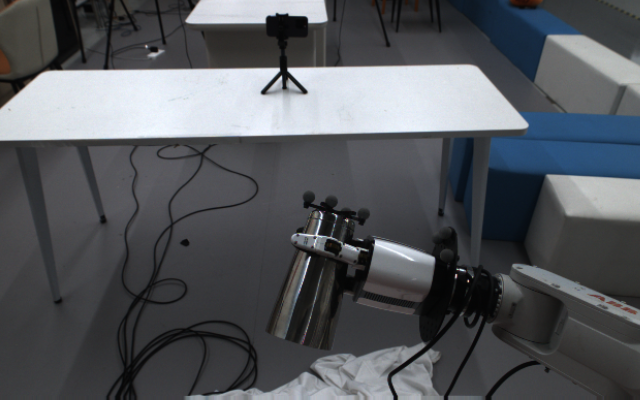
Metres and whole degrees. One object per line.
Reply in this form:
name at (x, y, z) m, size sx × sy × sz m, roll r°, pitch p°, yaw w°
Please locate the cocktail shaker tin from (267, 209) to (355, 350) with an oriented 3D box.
cocktail shaker tin at (-0.002, 0.103, 0.656) m, size 0.093 × 0.093 × 0.170 m, roll 13°, pitch 79°, yaw 15°
